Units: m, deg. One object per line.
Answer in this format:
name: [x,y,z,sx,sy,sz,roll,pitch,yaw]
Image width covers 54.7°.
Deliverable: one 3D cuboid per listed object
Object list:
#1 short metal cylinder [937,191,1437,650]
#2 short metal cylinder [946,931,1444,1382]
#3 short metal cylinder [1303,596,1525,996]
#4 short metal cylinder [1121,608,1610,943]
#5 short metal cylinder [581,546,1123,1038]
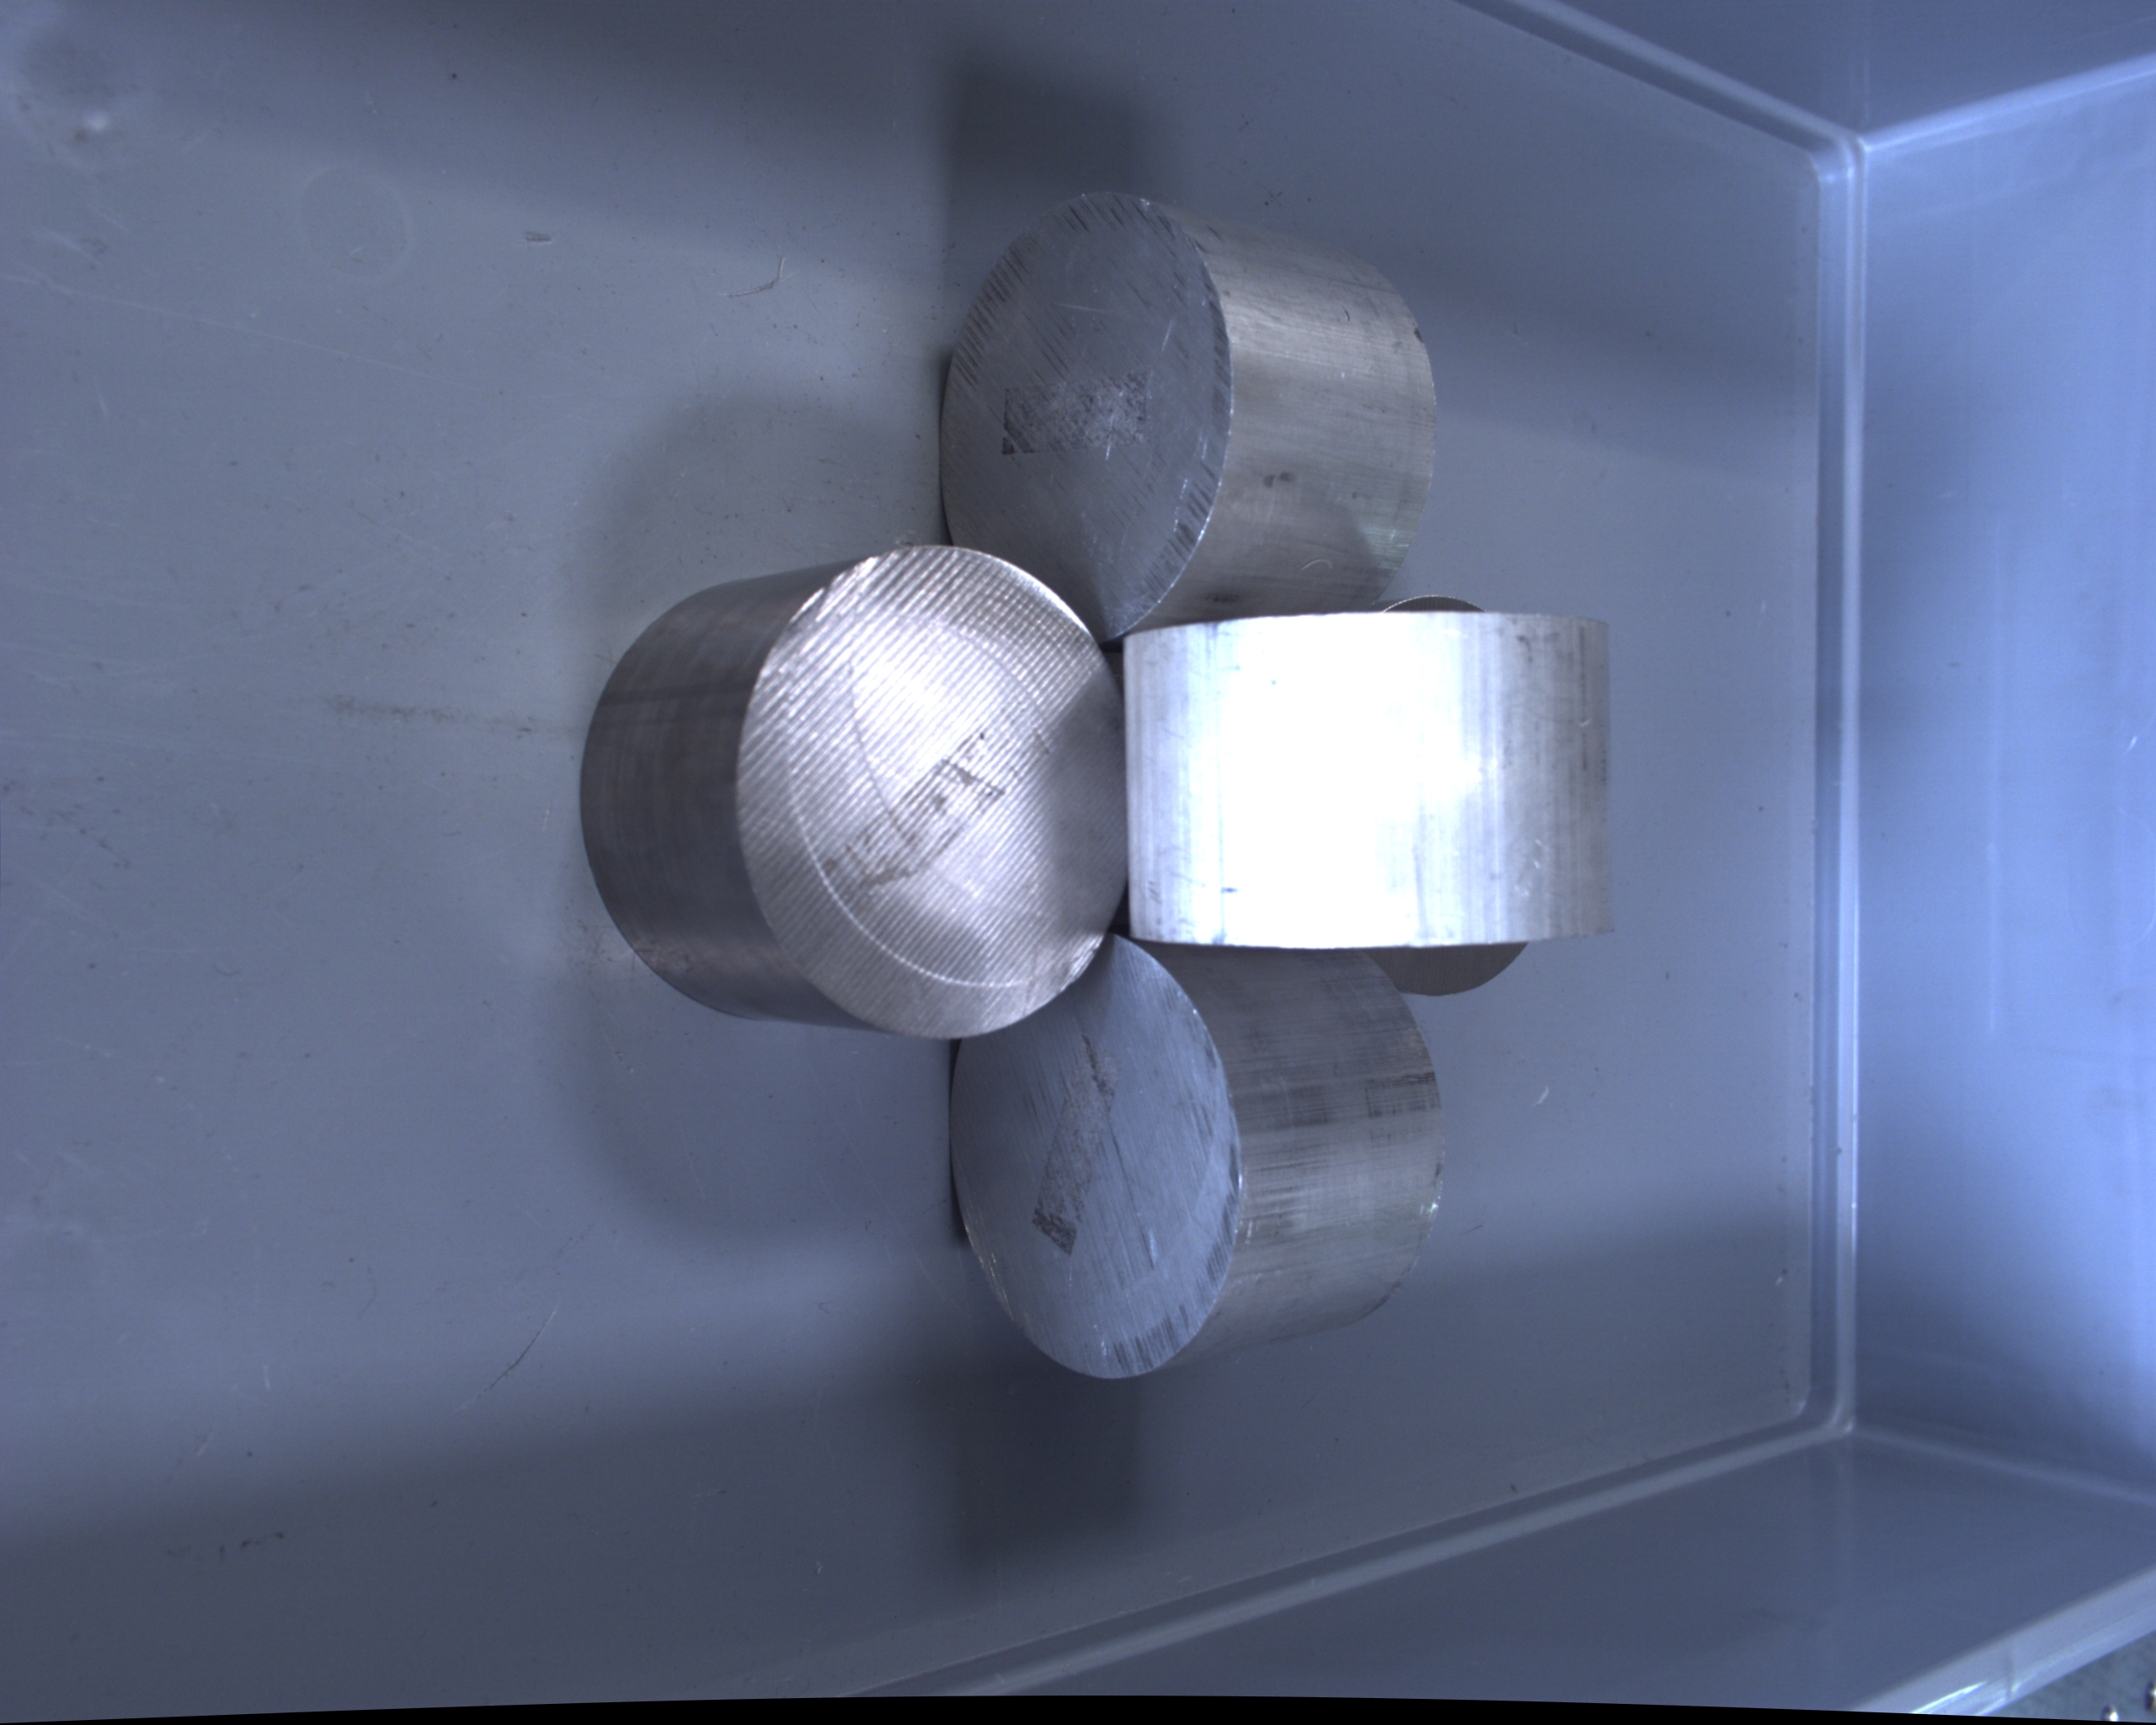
short metal cylinder: [0.018,-0.078,0.383,0.050,0.080,0.079,-3,92,-41]
short metal cylinder: [0.020,0.051,0.385,0.050,0.080,0.079,-3,92,-41]
short metal cylinder: [0.057,-0.013,0.435,0.081,0.050,0.080,0,90,-40]
short metal cylinder: [0.048,-0.014,0.351,0.081,0.080,0.050,-2,91,-40]
short metal cylinder: [-0.037,-0.012,0.357,0.081,0.050,0.080,0,90,-40]
